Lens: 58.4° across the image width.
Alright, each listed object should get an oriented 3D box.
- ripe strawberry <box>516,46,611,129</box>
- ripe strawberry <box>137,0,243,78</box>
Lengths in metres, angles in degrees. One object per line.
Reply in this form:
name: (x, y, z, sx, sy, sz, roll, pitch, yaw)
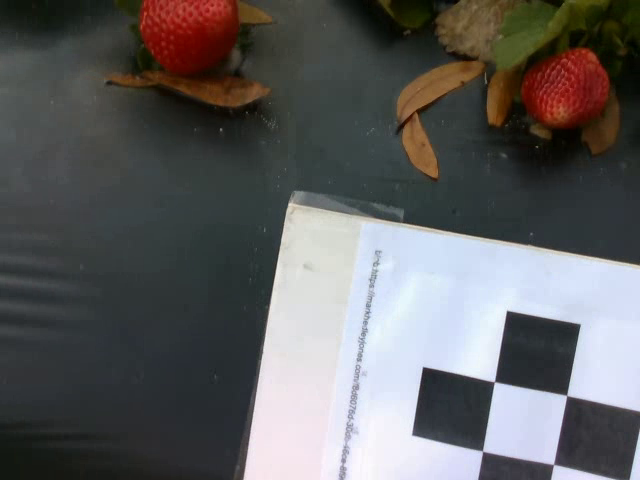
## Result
ripe strawberry: (0.098, -0.056, 0.225, 0.040, 0.037, 0.042, 22, 44, 5)
ripe strawberry: (-0.051, -0.091, 0.240, 0.042, 0.047, 0.065, 13, 6, -33)
